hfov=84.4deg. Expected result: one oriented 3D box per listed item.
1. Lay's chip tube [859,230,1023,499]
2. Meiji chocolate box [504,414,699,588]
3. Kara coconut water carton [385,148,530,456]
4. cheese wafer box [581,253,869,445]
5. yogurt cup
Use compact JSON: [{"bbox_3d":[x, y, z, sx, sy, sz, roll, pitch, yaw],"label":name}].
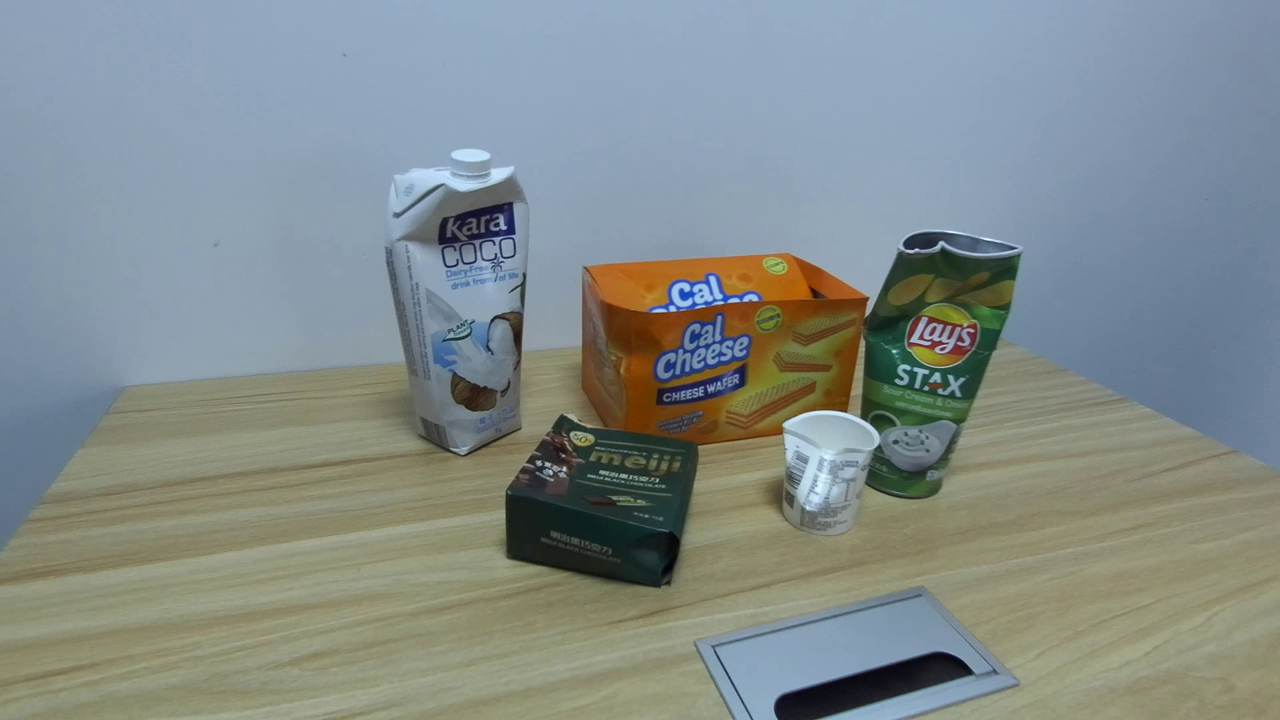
[{"bbox_3d":[0.217,0.005,0.541,0.077,0.201,0.069,-6,25,-16],"label":"Lay's chip tube"},{"bbox_3d":[-0.021,0.095,0.490,0.115,0.058,0.122,10,25,10],"label":"Meiji chocolate box"},{"bbox_3d":[-0.143,-0.045,0.569,0.069,0.238,0.115,22,30,34],"label":"Kara coconut water carton"},{"bbox_3d":[0.067,-0.012,0.652,0.231,0.132,0.151,-4,25,-18],"label":"cheese wafer box"},{"bbox_3d":[0.135,0.082,0.512,0.067,0.070,0.067,1,23,0],"label":"yogurt cup"}]
